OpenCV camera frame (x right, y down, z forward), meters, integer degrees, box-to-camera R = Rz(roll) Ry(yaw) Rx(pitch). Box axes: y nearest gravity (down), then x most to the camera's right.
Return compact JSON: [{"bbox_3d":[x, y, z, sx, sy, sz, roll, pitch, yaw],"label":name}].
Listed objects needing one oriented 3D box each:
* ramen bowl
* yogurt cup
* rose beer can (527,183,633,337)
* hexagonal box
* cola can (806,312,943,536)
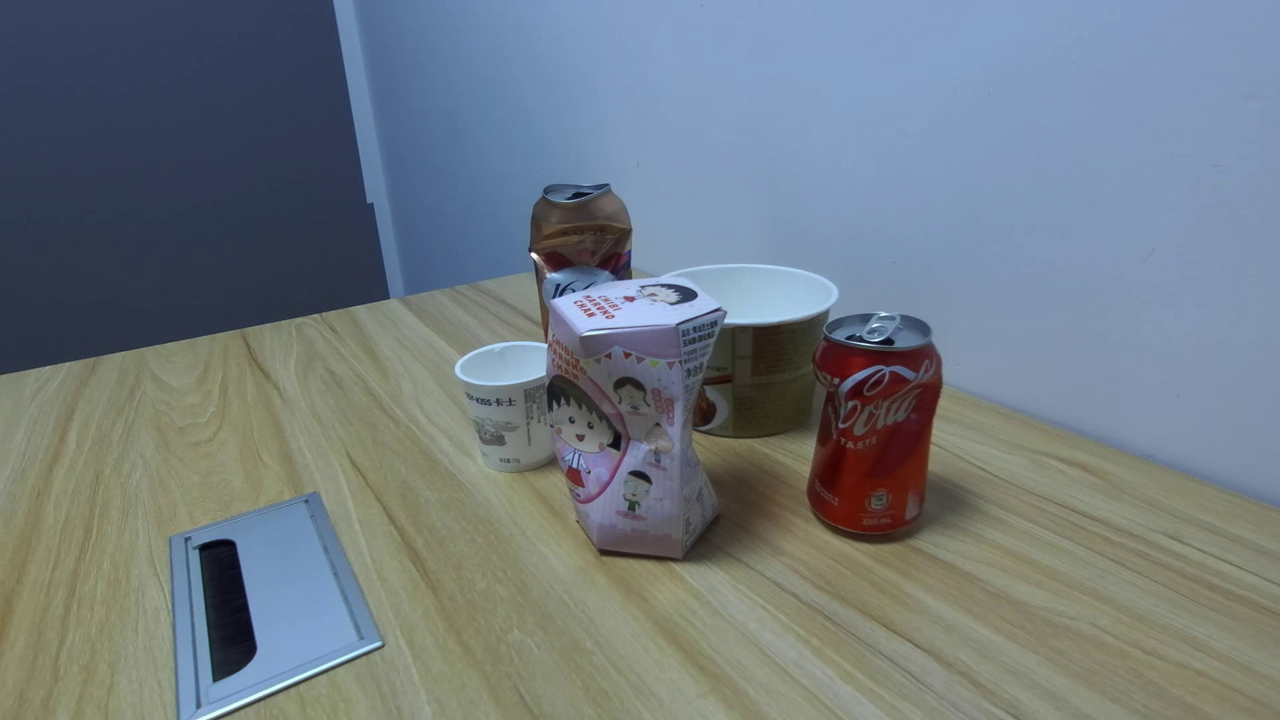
[{"bbox_3d":[0.074,-0.009,0.525,0.140,0.095,0.140,-1,22,1],"label":"ramen bowl"},{"bbox_3d":[-0.084,0.032,0.476,0.072,0.068,0.072,-2,23,1],"label":"yogurt cup"},{"bbox_3d":[-0.043,-0.058,0.565,0.074,0.162,0.068,-11,22,-19],"label":"rose beer can"},{"bbox_3d":[0.000,0.029,0.390,0.088,0.135,0.093,11,27,28],"label":"hexagonal box"},{"bbox_3d":[0.127,0.034,0.388,0.066,0.117,0.066,-5,23,-6],"label":"cola can"}]
